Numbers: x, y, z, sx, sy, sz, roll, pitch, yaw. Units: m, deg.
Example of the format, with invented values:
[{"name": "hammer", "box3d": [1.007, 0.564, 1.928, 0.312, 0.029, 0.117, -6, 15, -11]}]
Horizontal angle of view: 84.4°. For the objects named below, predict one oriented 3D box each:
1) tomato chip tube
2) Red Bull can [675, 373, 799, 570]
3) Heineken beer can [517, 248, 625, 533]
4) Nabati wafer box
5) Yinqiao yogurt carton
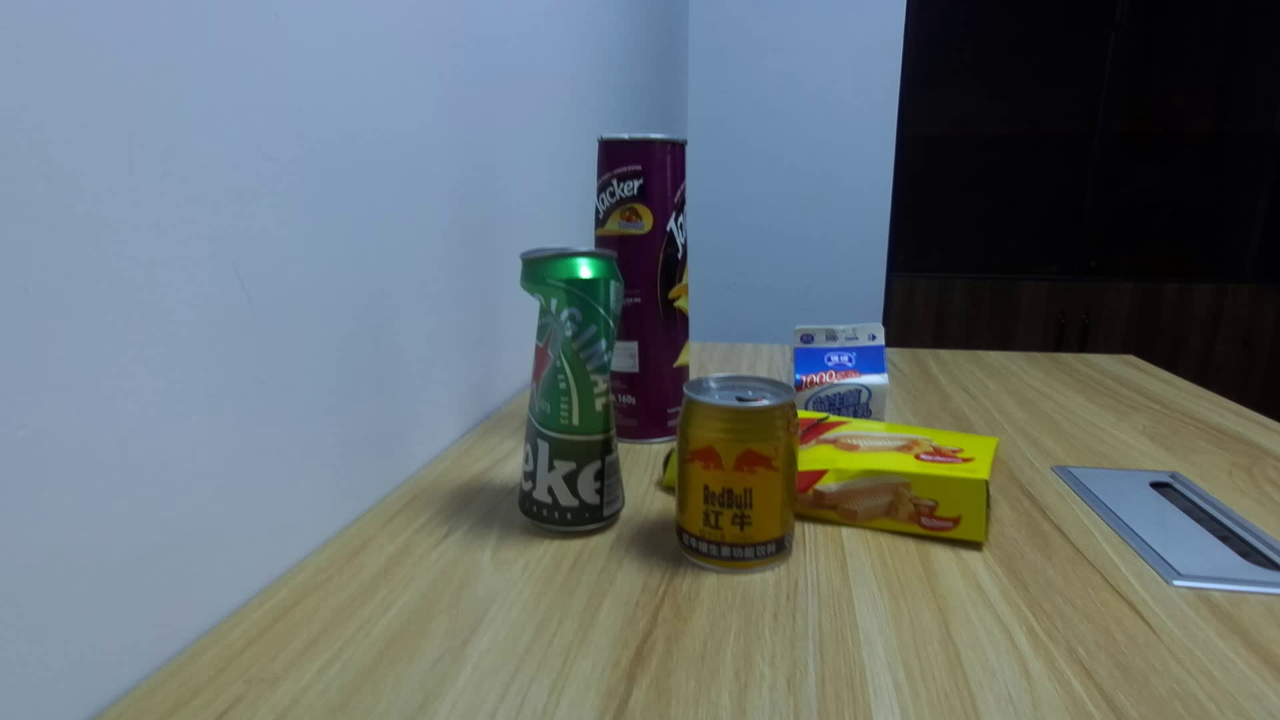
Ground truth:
[{"name": "tomato chip tube", "box3d": [0.004, -0.056, 0.568, 0.078, 0.235, 0.076, -3, 14, -6]}, {"name": "Red Bull can", "box3d": [0.053, 0.059, 0.386, 0.067, 0.093, 0.067, 1, 13, 0]}, {"name": "Heineken beer can", "box3d": [-0.041, 0.018, 0.417, 0.066, 0.164, 0.078, 4, 9, 16]}, {"name": "Nabati wafer box", "box3d": [0.118, 0.068, 0.462, 0.203, 0.042, 0.107, 6, 13, 27]}, {"name": "Yinqiao yogurt carton", "box3d": [0.157, 0.016, 0.571, 0.075, 0.092, 0.074, 0, 14, 8]}]
